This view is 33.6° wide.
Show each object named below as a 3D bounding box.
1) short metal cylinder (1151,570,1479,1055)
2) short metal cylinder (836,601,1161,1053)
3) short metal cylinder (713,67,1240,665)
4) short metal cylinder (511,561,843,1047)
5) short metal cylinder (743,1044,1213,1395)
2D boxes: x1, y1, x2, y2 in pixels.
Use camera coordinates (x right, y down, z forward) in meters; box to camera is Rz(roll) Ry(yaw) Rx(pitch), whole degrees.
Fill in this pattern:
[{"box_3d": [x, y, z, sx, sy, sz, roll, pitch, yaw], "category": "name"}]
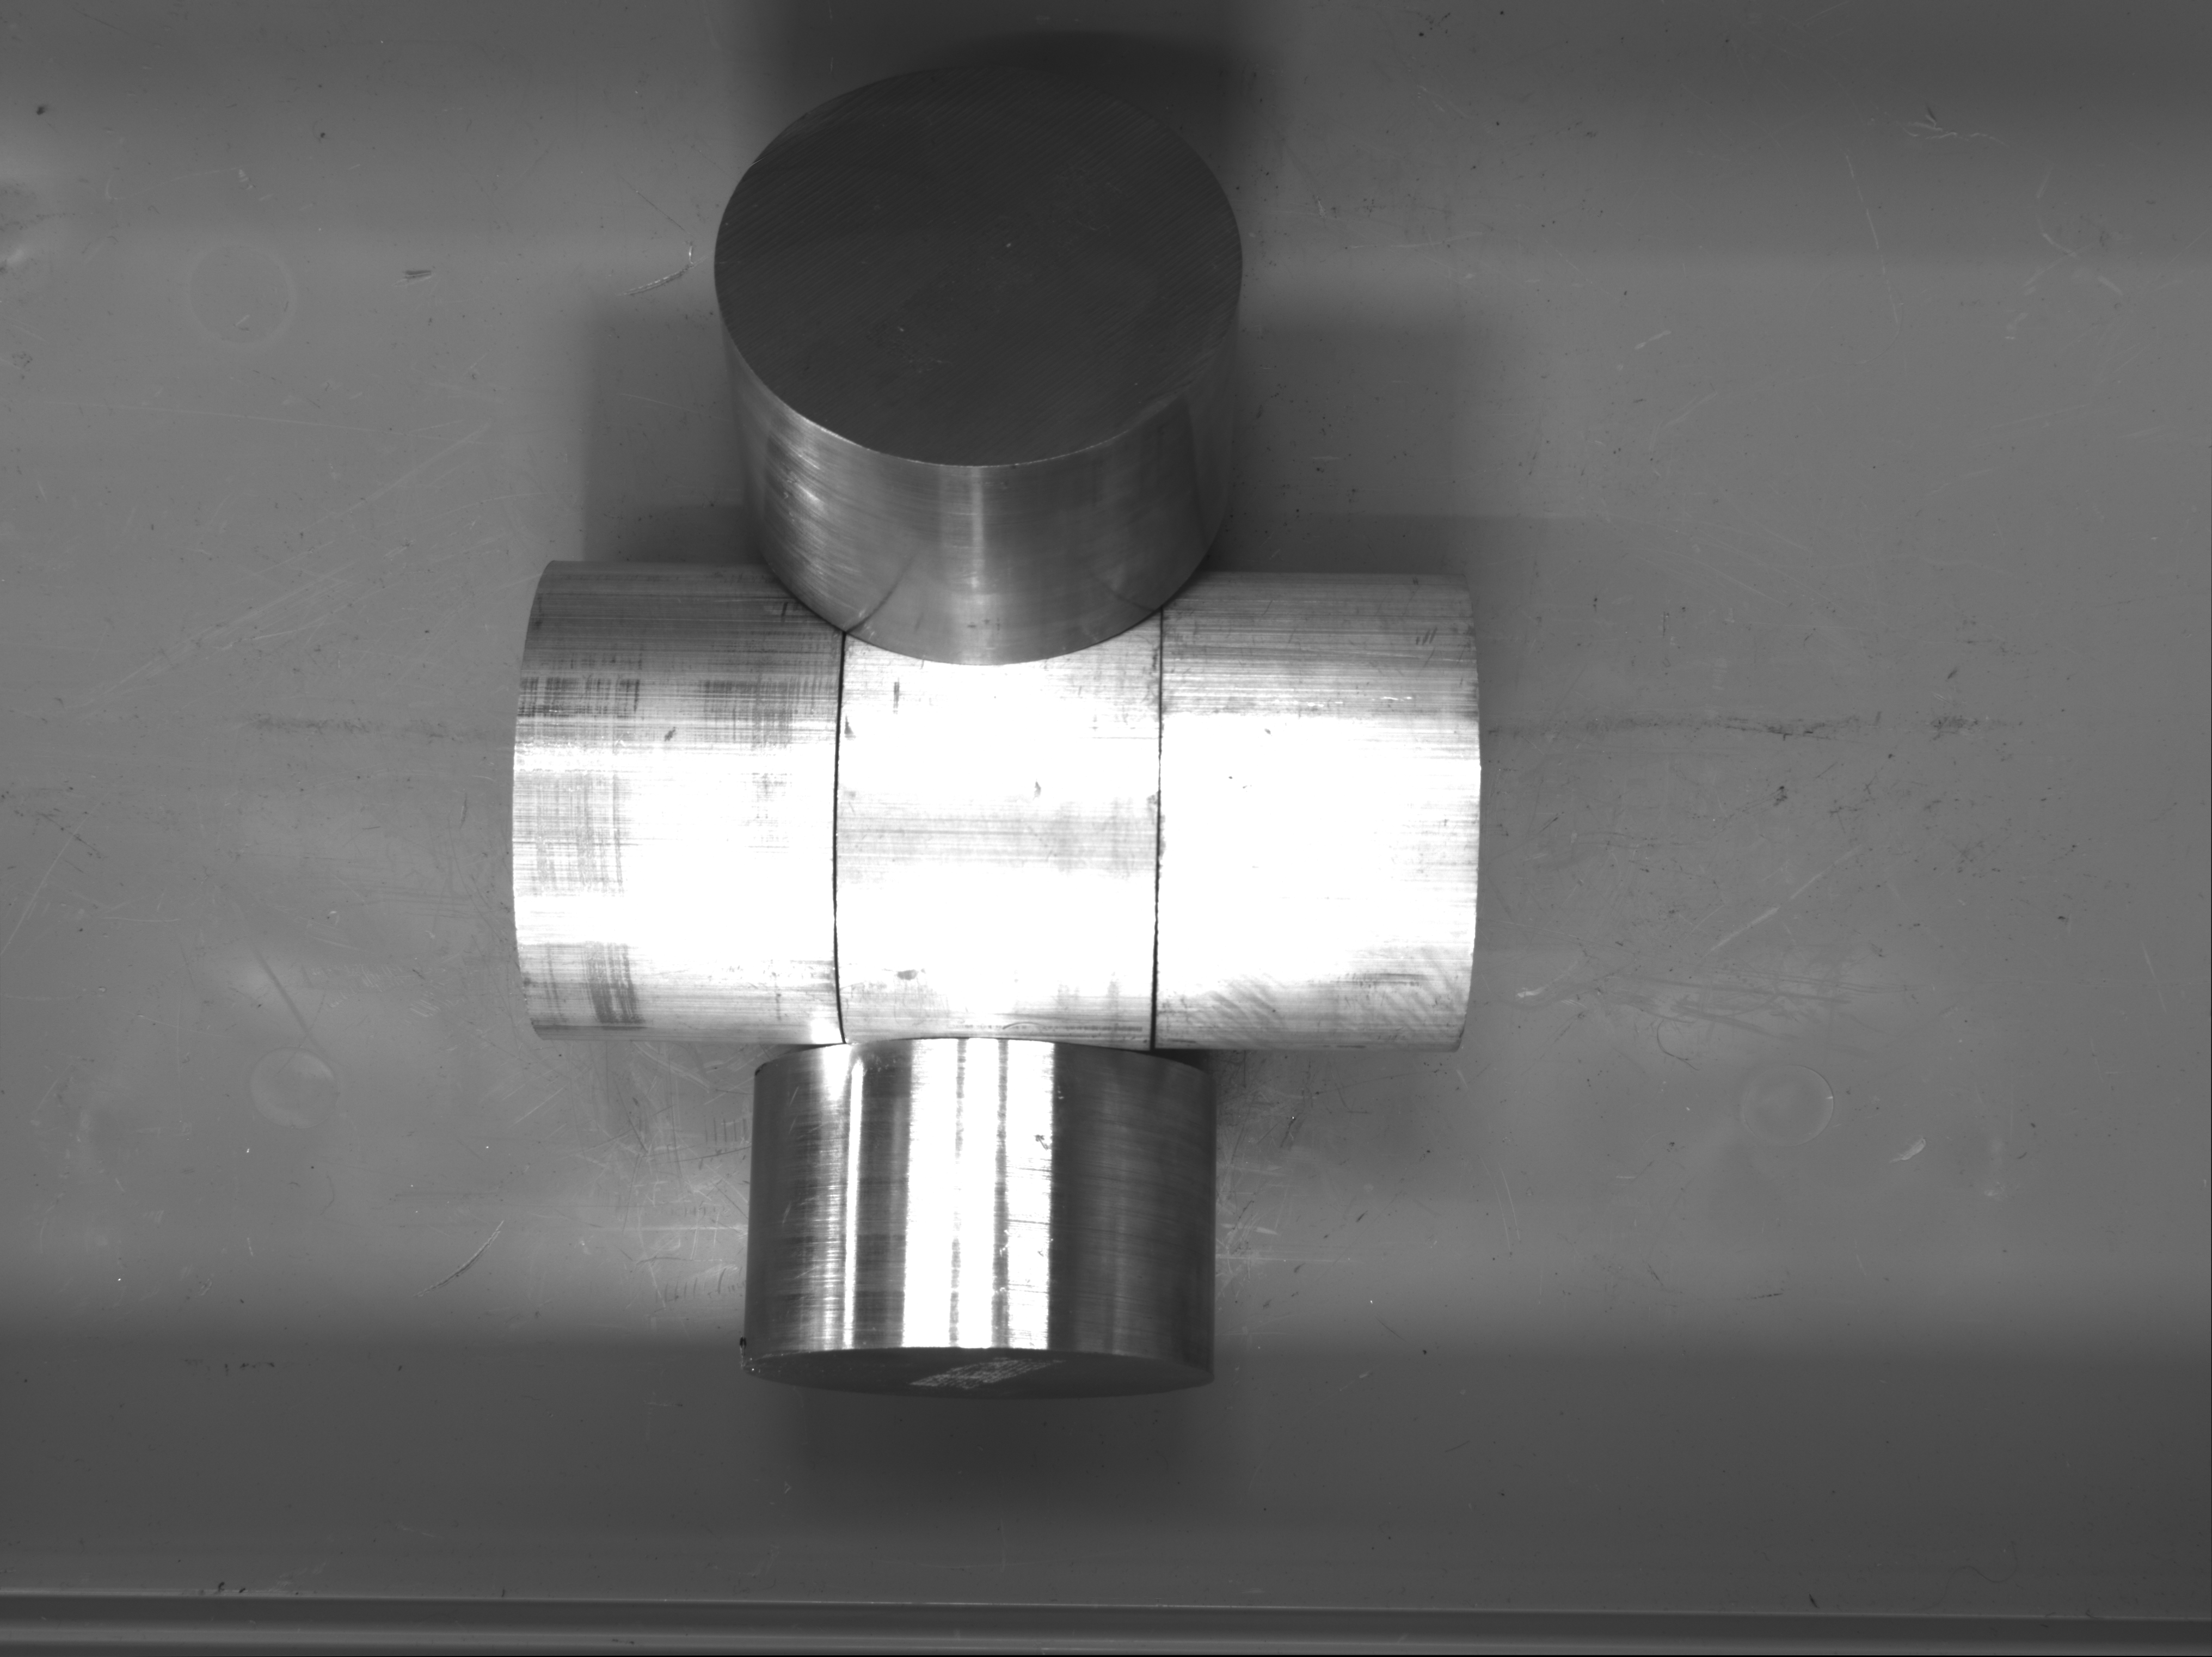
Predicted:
[{"box_3d": [0.033, -0.003, 0.612, 0.050, 0.080, 0.080, 1, 110, 0], "category": "short metal cylinder"}, {"box_3d": [-0.017, -0.003, 0.612, 0.050, 0.080, 0.080, 1, 110, 0], "category": "short metal cylinder"}, {"box_3d": [-0.020, -0.073, 0.579, 0.080, 0.080, 0.050, 2, 148, -1], "category": "short metal cylinder"}, {"box_3d": [-0.067, -0.004, 0.612, 0.050, 0.080, 0.080, 1, 110, 0], "category": "short metal cylinder"}, {"box_3d": [-0.022, 0.069, 0.630, 0.080, 0.080, 0.050, 0, 76, 0], "category": "short metal cylinder"}]
